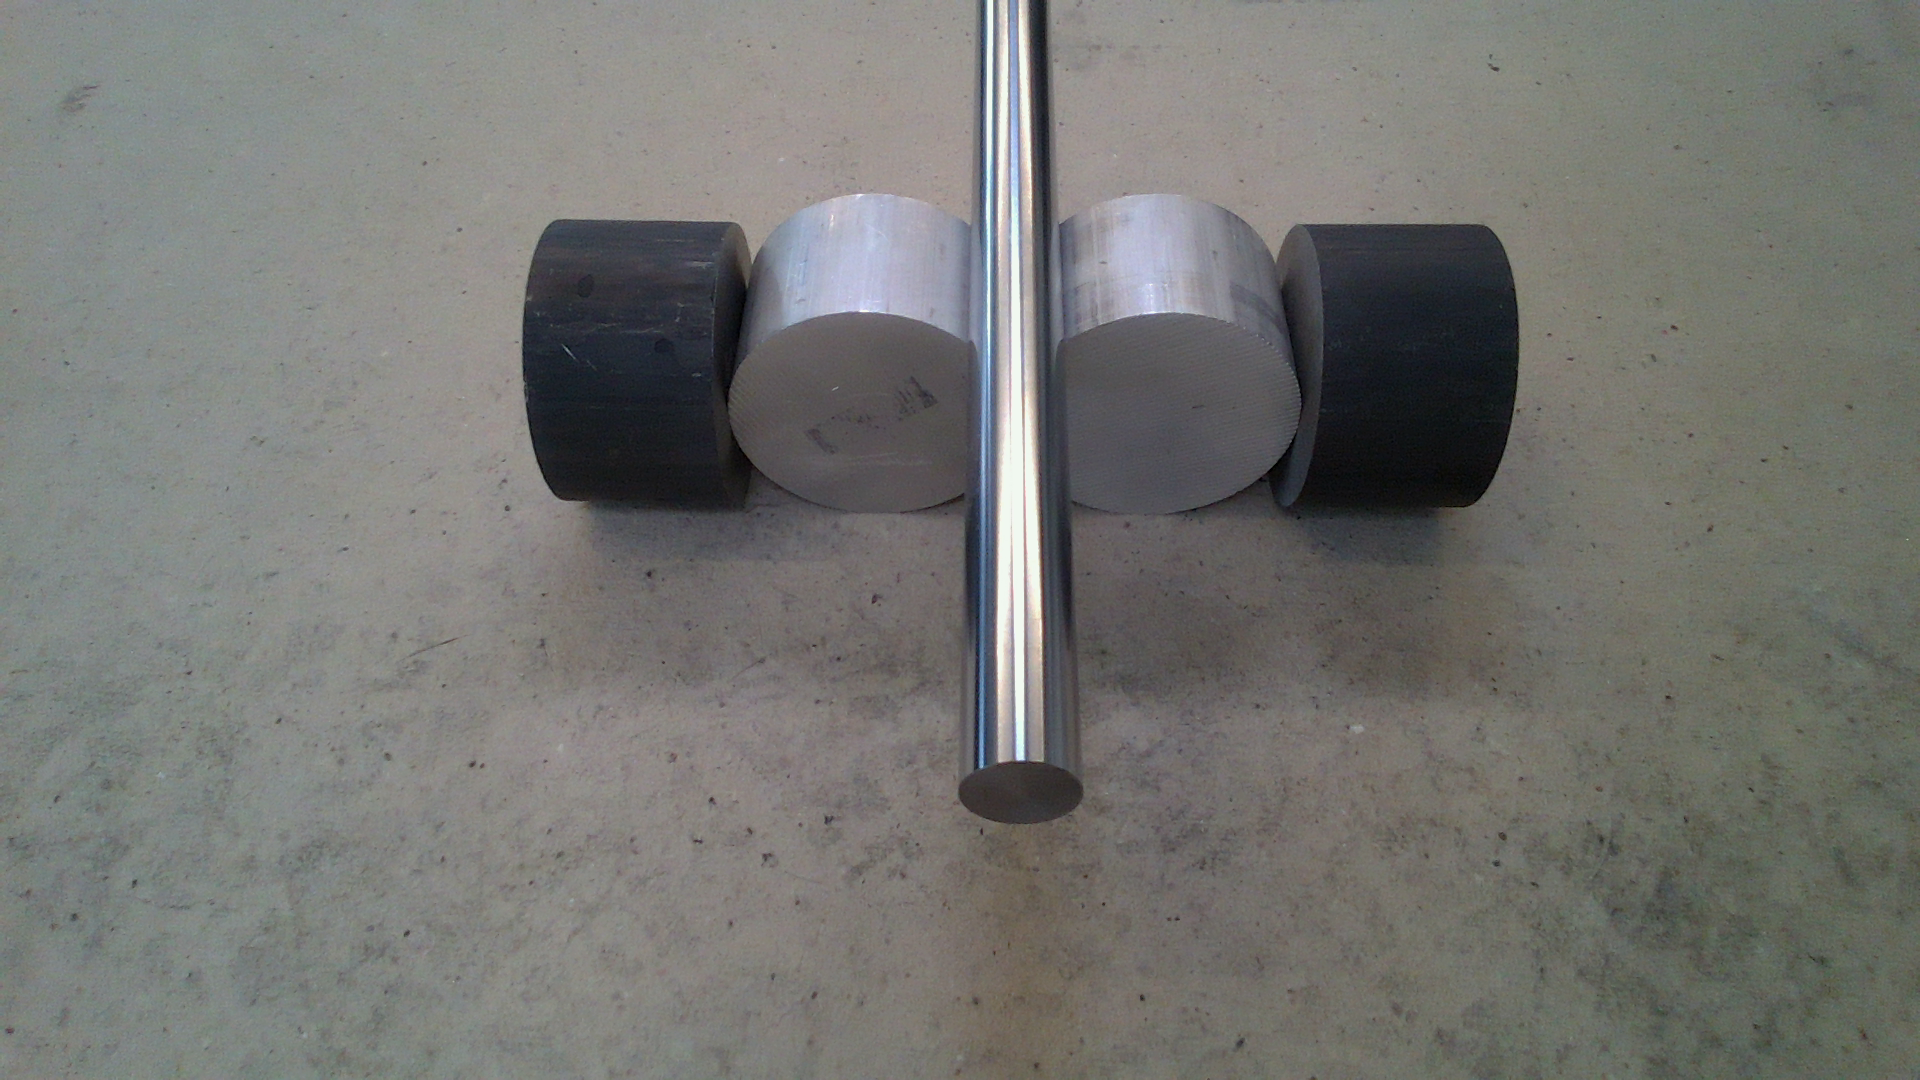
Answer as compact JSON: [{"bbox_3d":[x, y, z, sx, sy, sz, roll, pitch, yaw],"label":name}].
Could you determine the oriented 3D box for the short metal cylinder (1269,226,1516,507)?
[{"bbox_3d":[0.120,-0.050,0.398,0.050,0.080,0.080,1,50,1],"label":"short metal cylinder"}]

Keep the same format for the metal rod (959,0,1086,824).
[{"bbox_3d":[0.015,-0.065,0.366,0.025,0.025,0.300,1,50,1],"label":"metal rod"}]

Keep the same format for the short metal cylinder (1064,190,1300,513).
[{"bbox_3d":[0.055,-0.053,0.400,0.080,0.080,0.050,1,50,1],"label":"short metal cylinder"}]

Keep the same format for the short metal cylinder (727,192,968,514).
[{"bbox_3d":[-0.025,-0.053,0.401,0.080,0.080,0.050,1,50,1],"label":"short metal cylinder"}]

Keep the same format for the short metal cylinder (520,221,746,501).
[{"bbox_3d":[-0.089,-0.052,0.399,0.050,0.080,0.080,1,50,1],"label":"short metal cylinder"}]
